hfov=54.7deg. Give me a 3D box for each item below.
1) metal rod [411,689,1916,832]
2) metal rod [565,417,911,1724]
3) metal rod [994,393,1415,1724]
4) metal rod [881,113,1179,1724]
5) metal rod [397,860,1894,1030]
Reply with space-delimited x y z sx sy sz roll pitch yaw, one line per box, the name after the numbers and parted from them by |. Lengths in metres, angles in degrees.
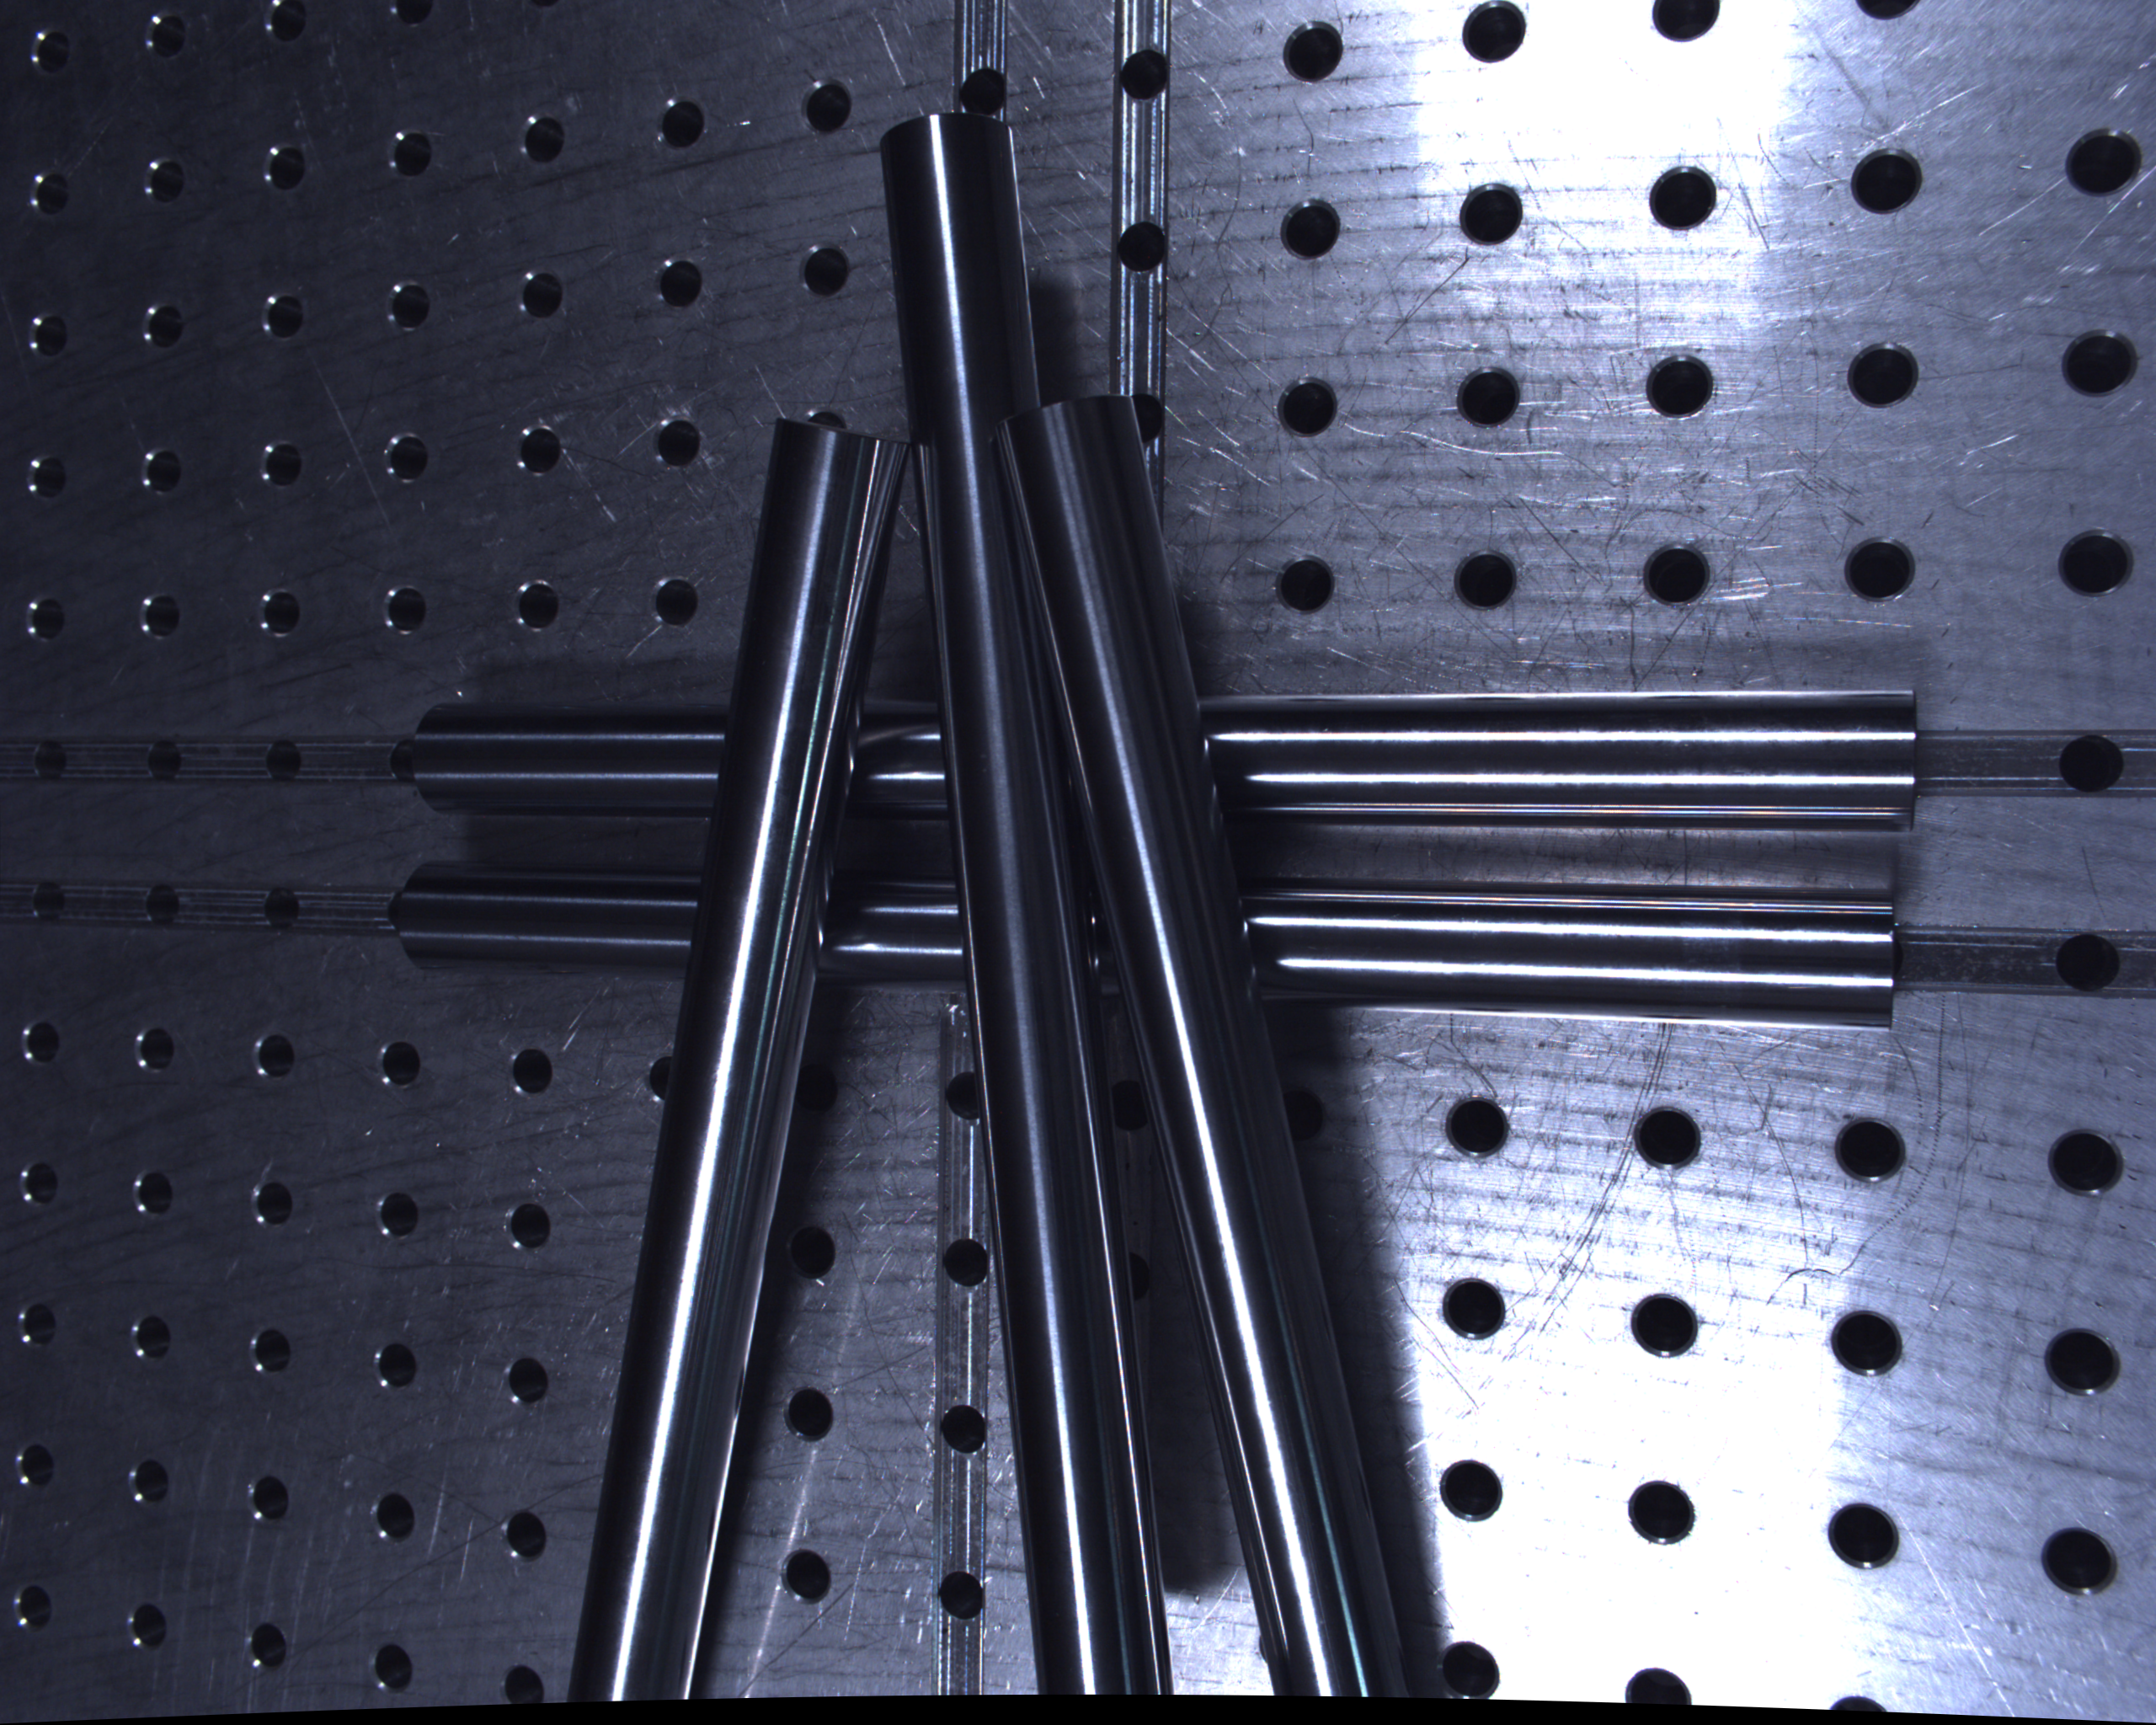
0.003 -0.020 0.411 0.301 0.025 0.025 1 90 19 | metal rod
-0.072 0.063 0.417 0.025 0.025 0.298 15 102 19 | metal rod
0.029 0.065 0.382 0.025 0.025 0.298 -11 93 19 | metal rod
-0.009 0.012 0.389 0.025 0.025 0.298 -7 88 19 | metal rod
-0.001 0.014 0.412 0.301 0.025 0.025 1 90 19 | metal rod
